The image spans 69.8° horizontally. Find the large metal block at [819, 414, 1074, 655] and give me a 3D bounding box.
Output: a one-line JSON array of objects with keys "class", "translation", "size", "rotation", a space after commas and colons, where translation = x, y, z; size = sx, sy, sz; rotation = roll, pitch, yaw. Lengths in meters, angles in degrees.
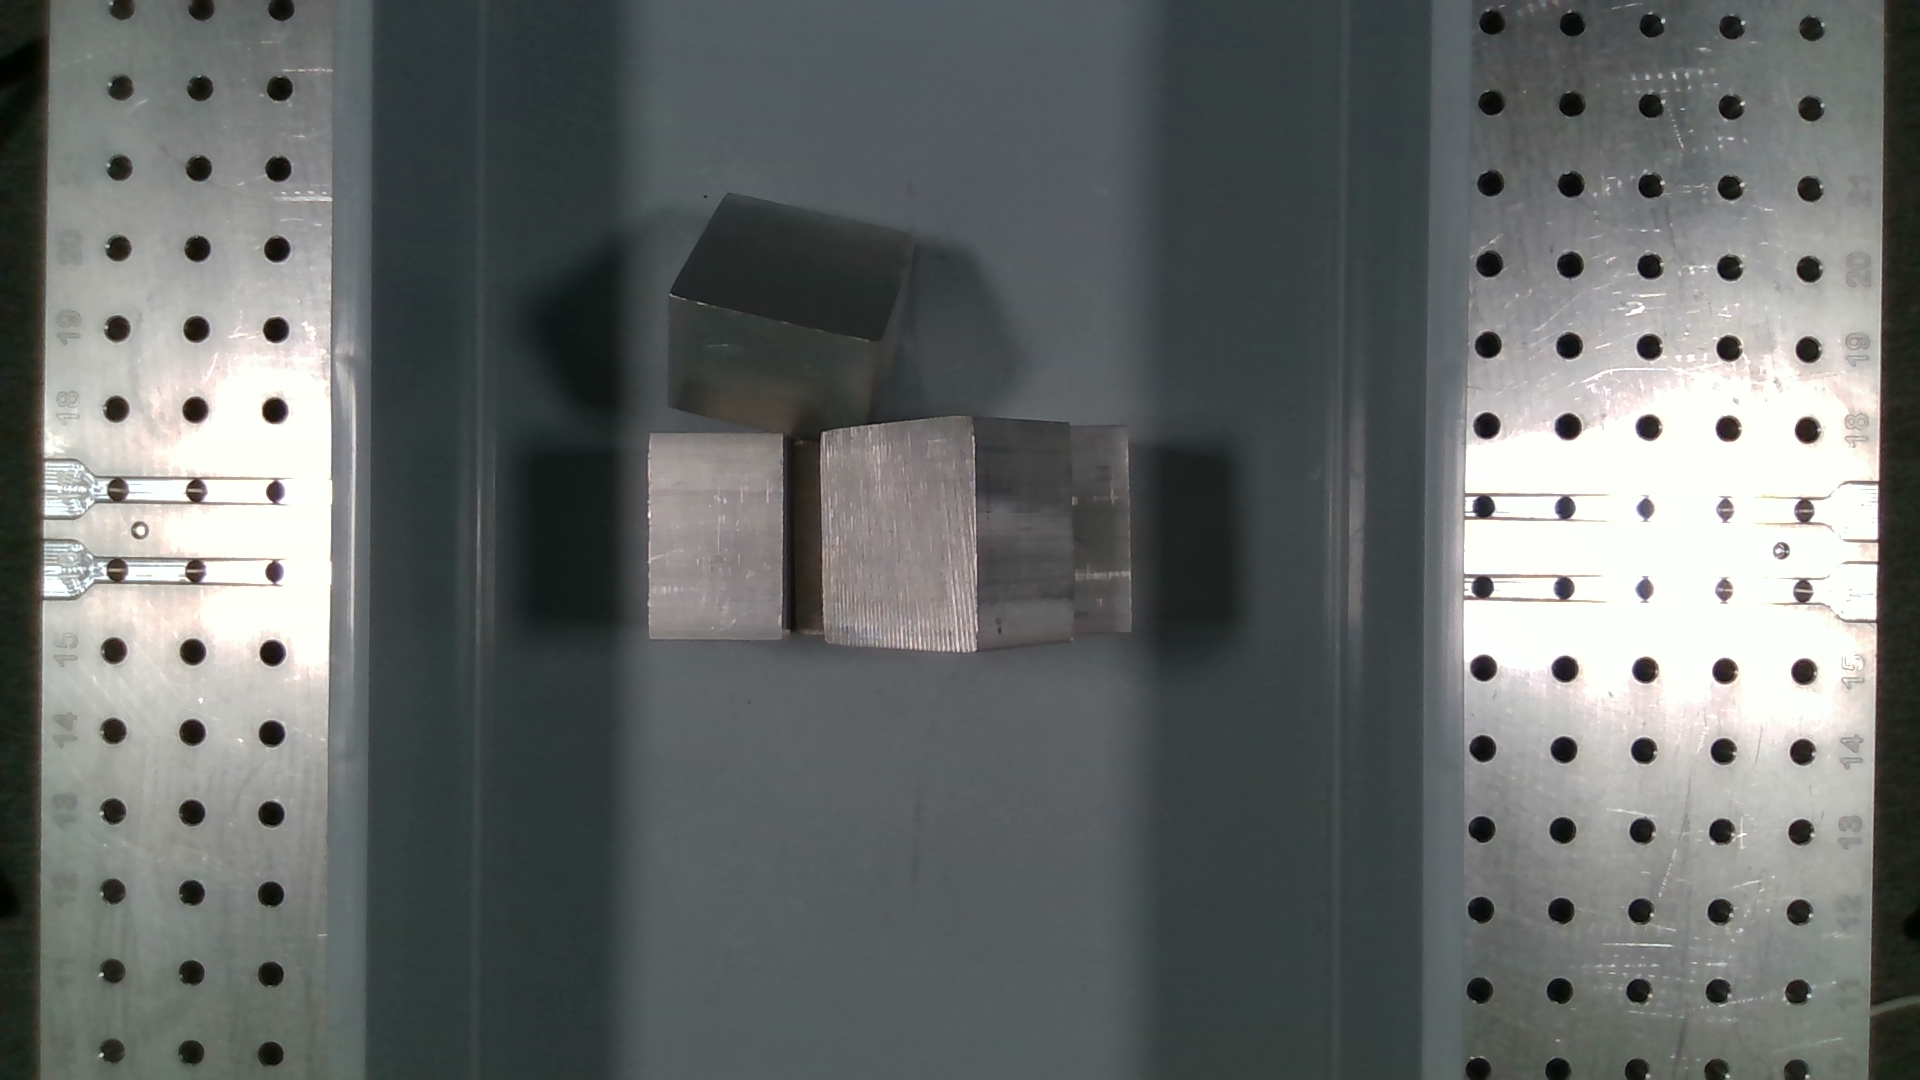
[{"class": "large metal block", "translation": [-0.006, -0.002, 0.502], "size": [0.050, 0.080, 0.080], "rotation": [-1, 91, -45]}]

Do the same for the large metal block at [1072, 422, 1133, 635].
[{"class": "large metal block", "translation": [0.039, -0.004, 0.558], "size": [0.050, 0.080, 0.080], "rotation": [-1, 90, 0]}]

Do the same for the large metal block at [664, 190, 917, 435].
[{"class": "large metal block", "translation": [-0.067, -0.090, 0.549], "size": [0.080, 0.080, 0.050], "rotation": [12, 133, 0]}]

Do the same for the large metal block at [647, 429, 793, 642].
[{"class": "large metal block", "translation": [-0.092, -0.002, 0.557], "size": [0.050, 0.080, 0.080], "rotation": [0, 90, 0]}]

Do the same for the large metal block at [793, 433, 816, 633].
[{"class": "large metal block", "translation": [-0.026, -0.004, 0.575], "size": [0.080, 0.050, 0.080], "rotation": [-1, 90, 0]}]
